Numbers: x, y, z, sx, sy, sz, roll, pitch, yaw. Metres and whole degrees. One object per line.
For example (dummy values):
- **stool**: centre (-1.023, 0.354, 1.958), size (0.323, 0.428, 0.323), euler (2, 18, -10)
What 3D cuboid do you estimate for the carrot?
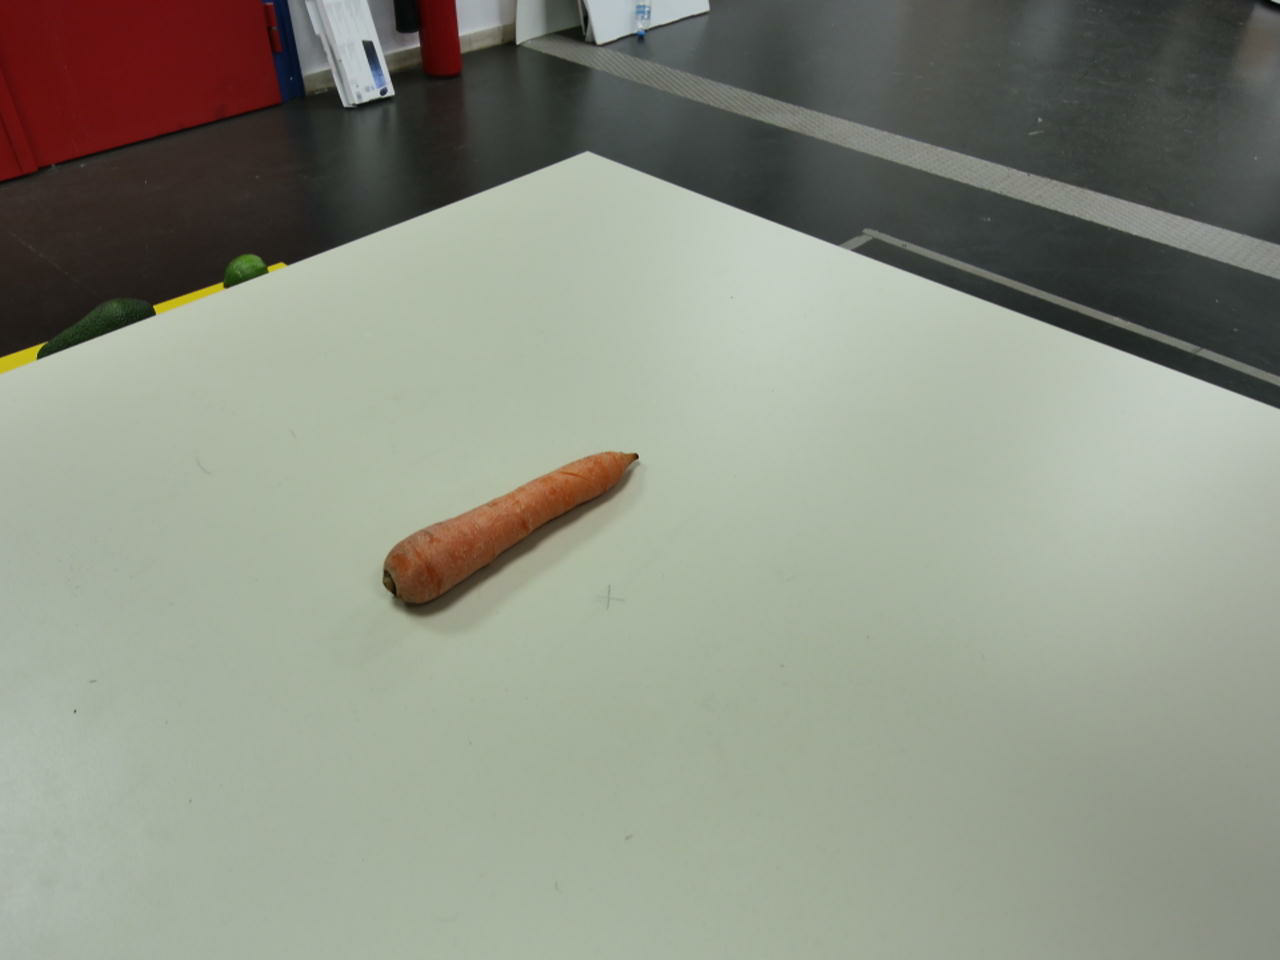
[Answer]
- **carrot**: centre (-0.071, 0.015, 0.602), size (0.039, 0.041, 0.196), euler (30, 46, 32)
